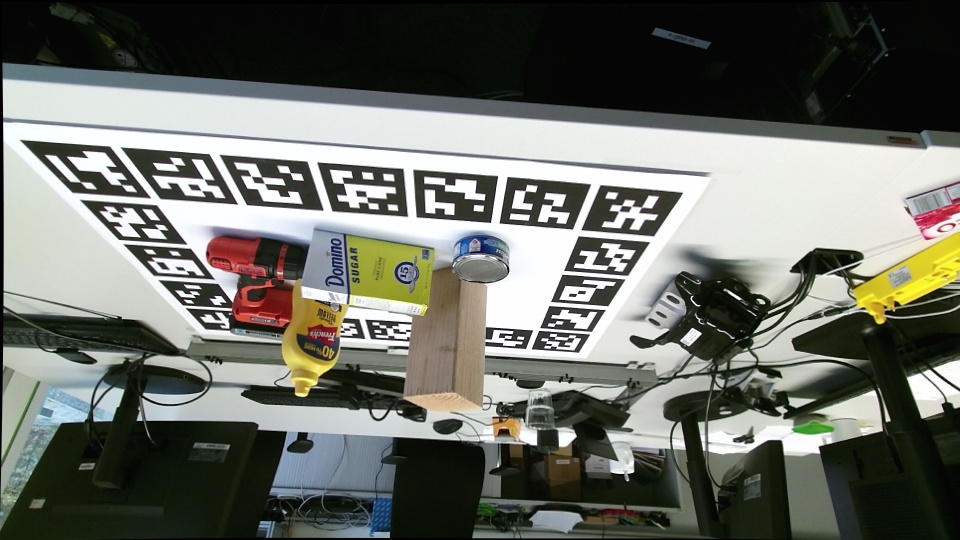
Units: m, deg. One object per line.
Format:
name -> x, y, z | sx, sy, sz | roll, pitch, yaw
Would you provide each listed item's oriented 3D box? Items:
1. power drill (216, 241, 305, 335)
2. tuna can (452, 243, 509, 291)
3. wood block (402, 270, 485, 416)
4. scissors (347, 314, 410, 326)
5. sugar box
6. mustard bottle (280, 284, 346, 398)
power drill -> -0.315, 0.033, 0.852 | 0.185, 0.057, 0.187 | 11, 139, -14
tuna can -> 0.001, -0.003, 0.792 | 0.086, 0.033, 0.086 | 2, 147, 1
wood block -> -0.052, 0.113, 0.842 | 0.091, 0.205, 0.090 | -12, 144, 21
scissors -> -0.137, 0.090, 0.967 | 0.203, 0.016, 0.088 | 5, 151, -5
sugar box -> -0.166, 0.010, 0.777 | 0.177, 0.092, 0.045 | 12, 149, -12
mustard bottle -> -0.274, 0.113, 0.866 | 0.058, 0.190, 0.096 | -21, 140, 30
